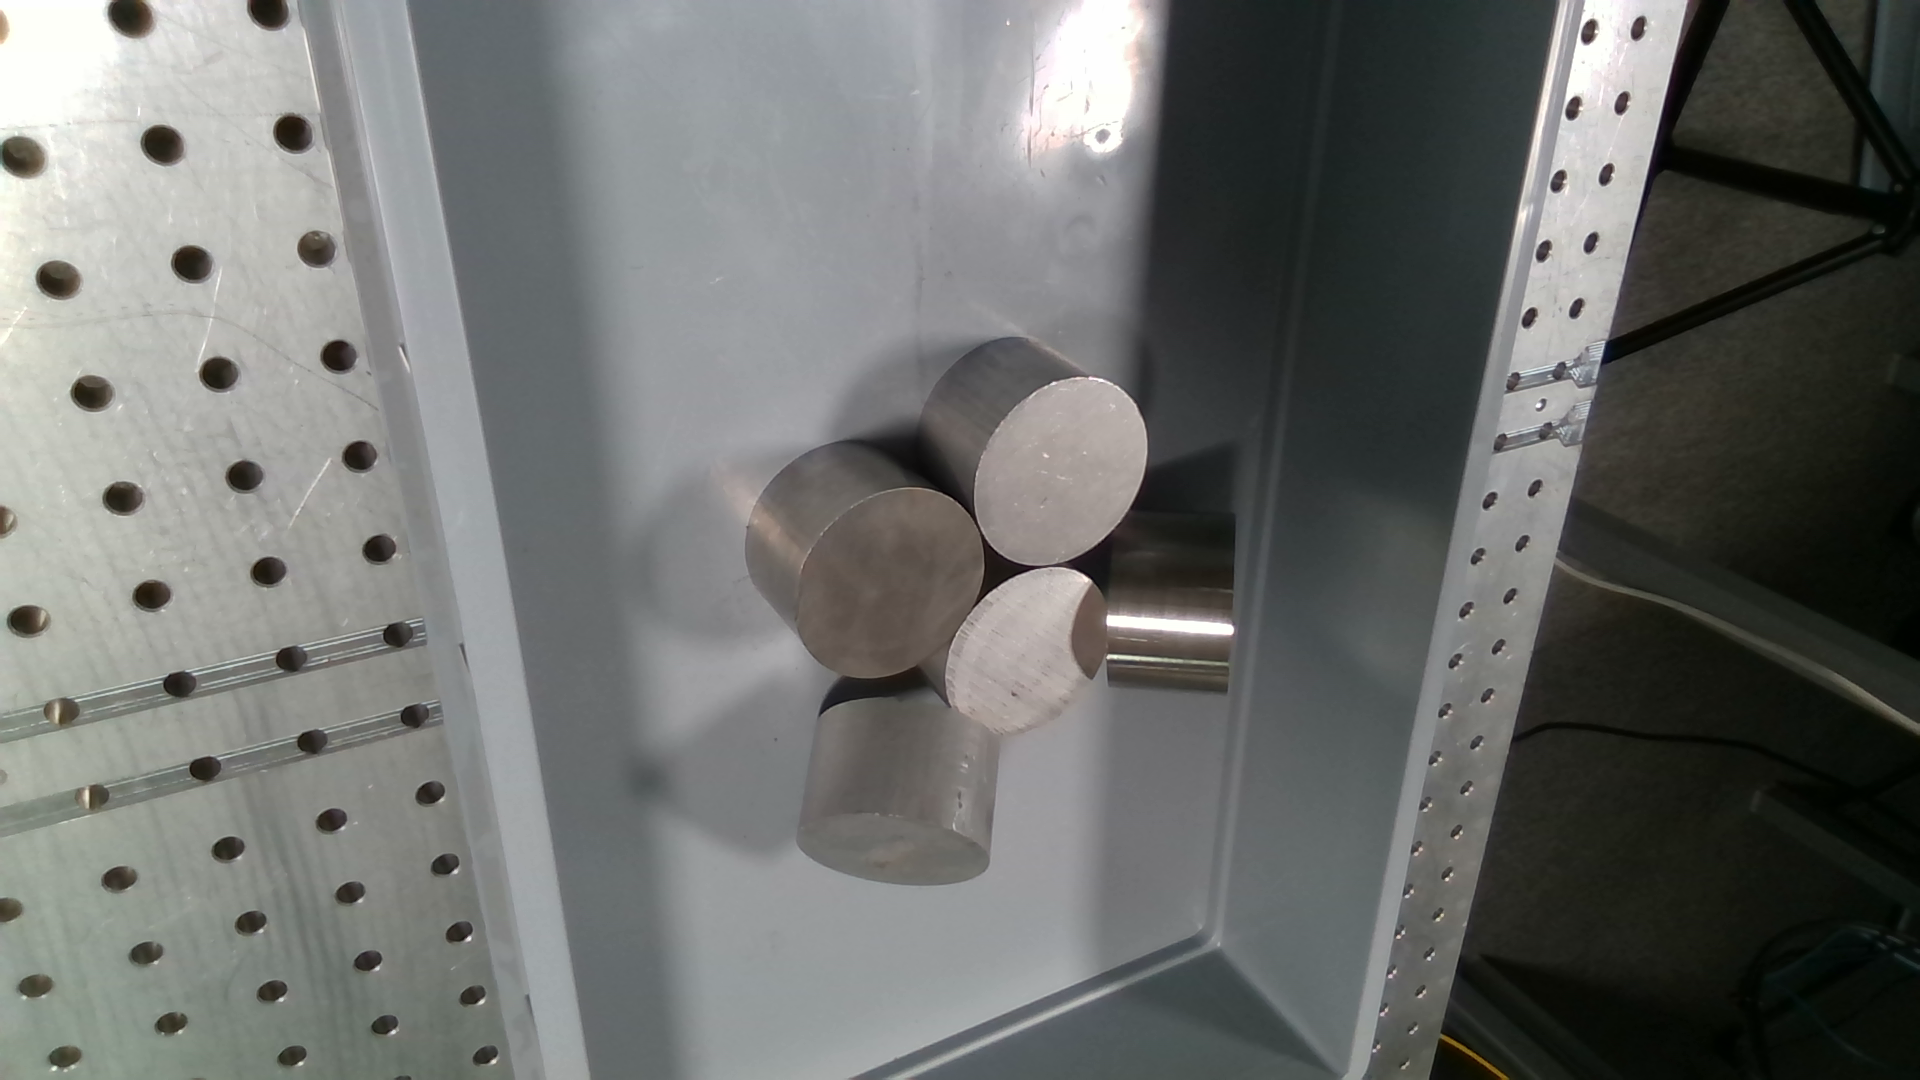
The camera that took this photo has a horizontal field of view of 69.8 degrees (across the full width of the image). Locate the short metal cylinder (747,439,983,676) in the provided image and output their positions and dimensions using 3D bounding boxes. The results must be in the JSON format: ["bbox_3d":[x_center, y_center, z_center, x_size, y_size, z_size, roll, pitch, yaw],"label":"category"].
[{"bbox_3d":[-0.038,0.006,0.543,0.080,0.050,0.080,-14,122,-25],"label":"short metal cylinder"}]

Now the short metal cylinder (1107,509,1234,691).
[{"bbox_3d":[0.093,0.026,0.606,0.050,0.080,0.080,3,120,10],"label":"short metal cylinder"}]

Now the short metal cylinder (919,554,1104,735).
[{"bbox_3d":[0.017,0.037,0.593,0.080,0.050,0.080,-14,122,-25],"label":"short metal cylinder"}]

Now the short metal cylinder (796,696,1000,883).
[{"bbox_3d":[-0.025,0.106,0.579,0.080,0.050,0.080,5,147,3],"label":"short metal cylinder"}]

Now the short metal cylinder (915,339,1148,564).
[{"bbox_3d":[0.029,-0.037,0.560,0.080,0.050,0.080,-14,122,-25],"label":"short metal cylinder"}]
